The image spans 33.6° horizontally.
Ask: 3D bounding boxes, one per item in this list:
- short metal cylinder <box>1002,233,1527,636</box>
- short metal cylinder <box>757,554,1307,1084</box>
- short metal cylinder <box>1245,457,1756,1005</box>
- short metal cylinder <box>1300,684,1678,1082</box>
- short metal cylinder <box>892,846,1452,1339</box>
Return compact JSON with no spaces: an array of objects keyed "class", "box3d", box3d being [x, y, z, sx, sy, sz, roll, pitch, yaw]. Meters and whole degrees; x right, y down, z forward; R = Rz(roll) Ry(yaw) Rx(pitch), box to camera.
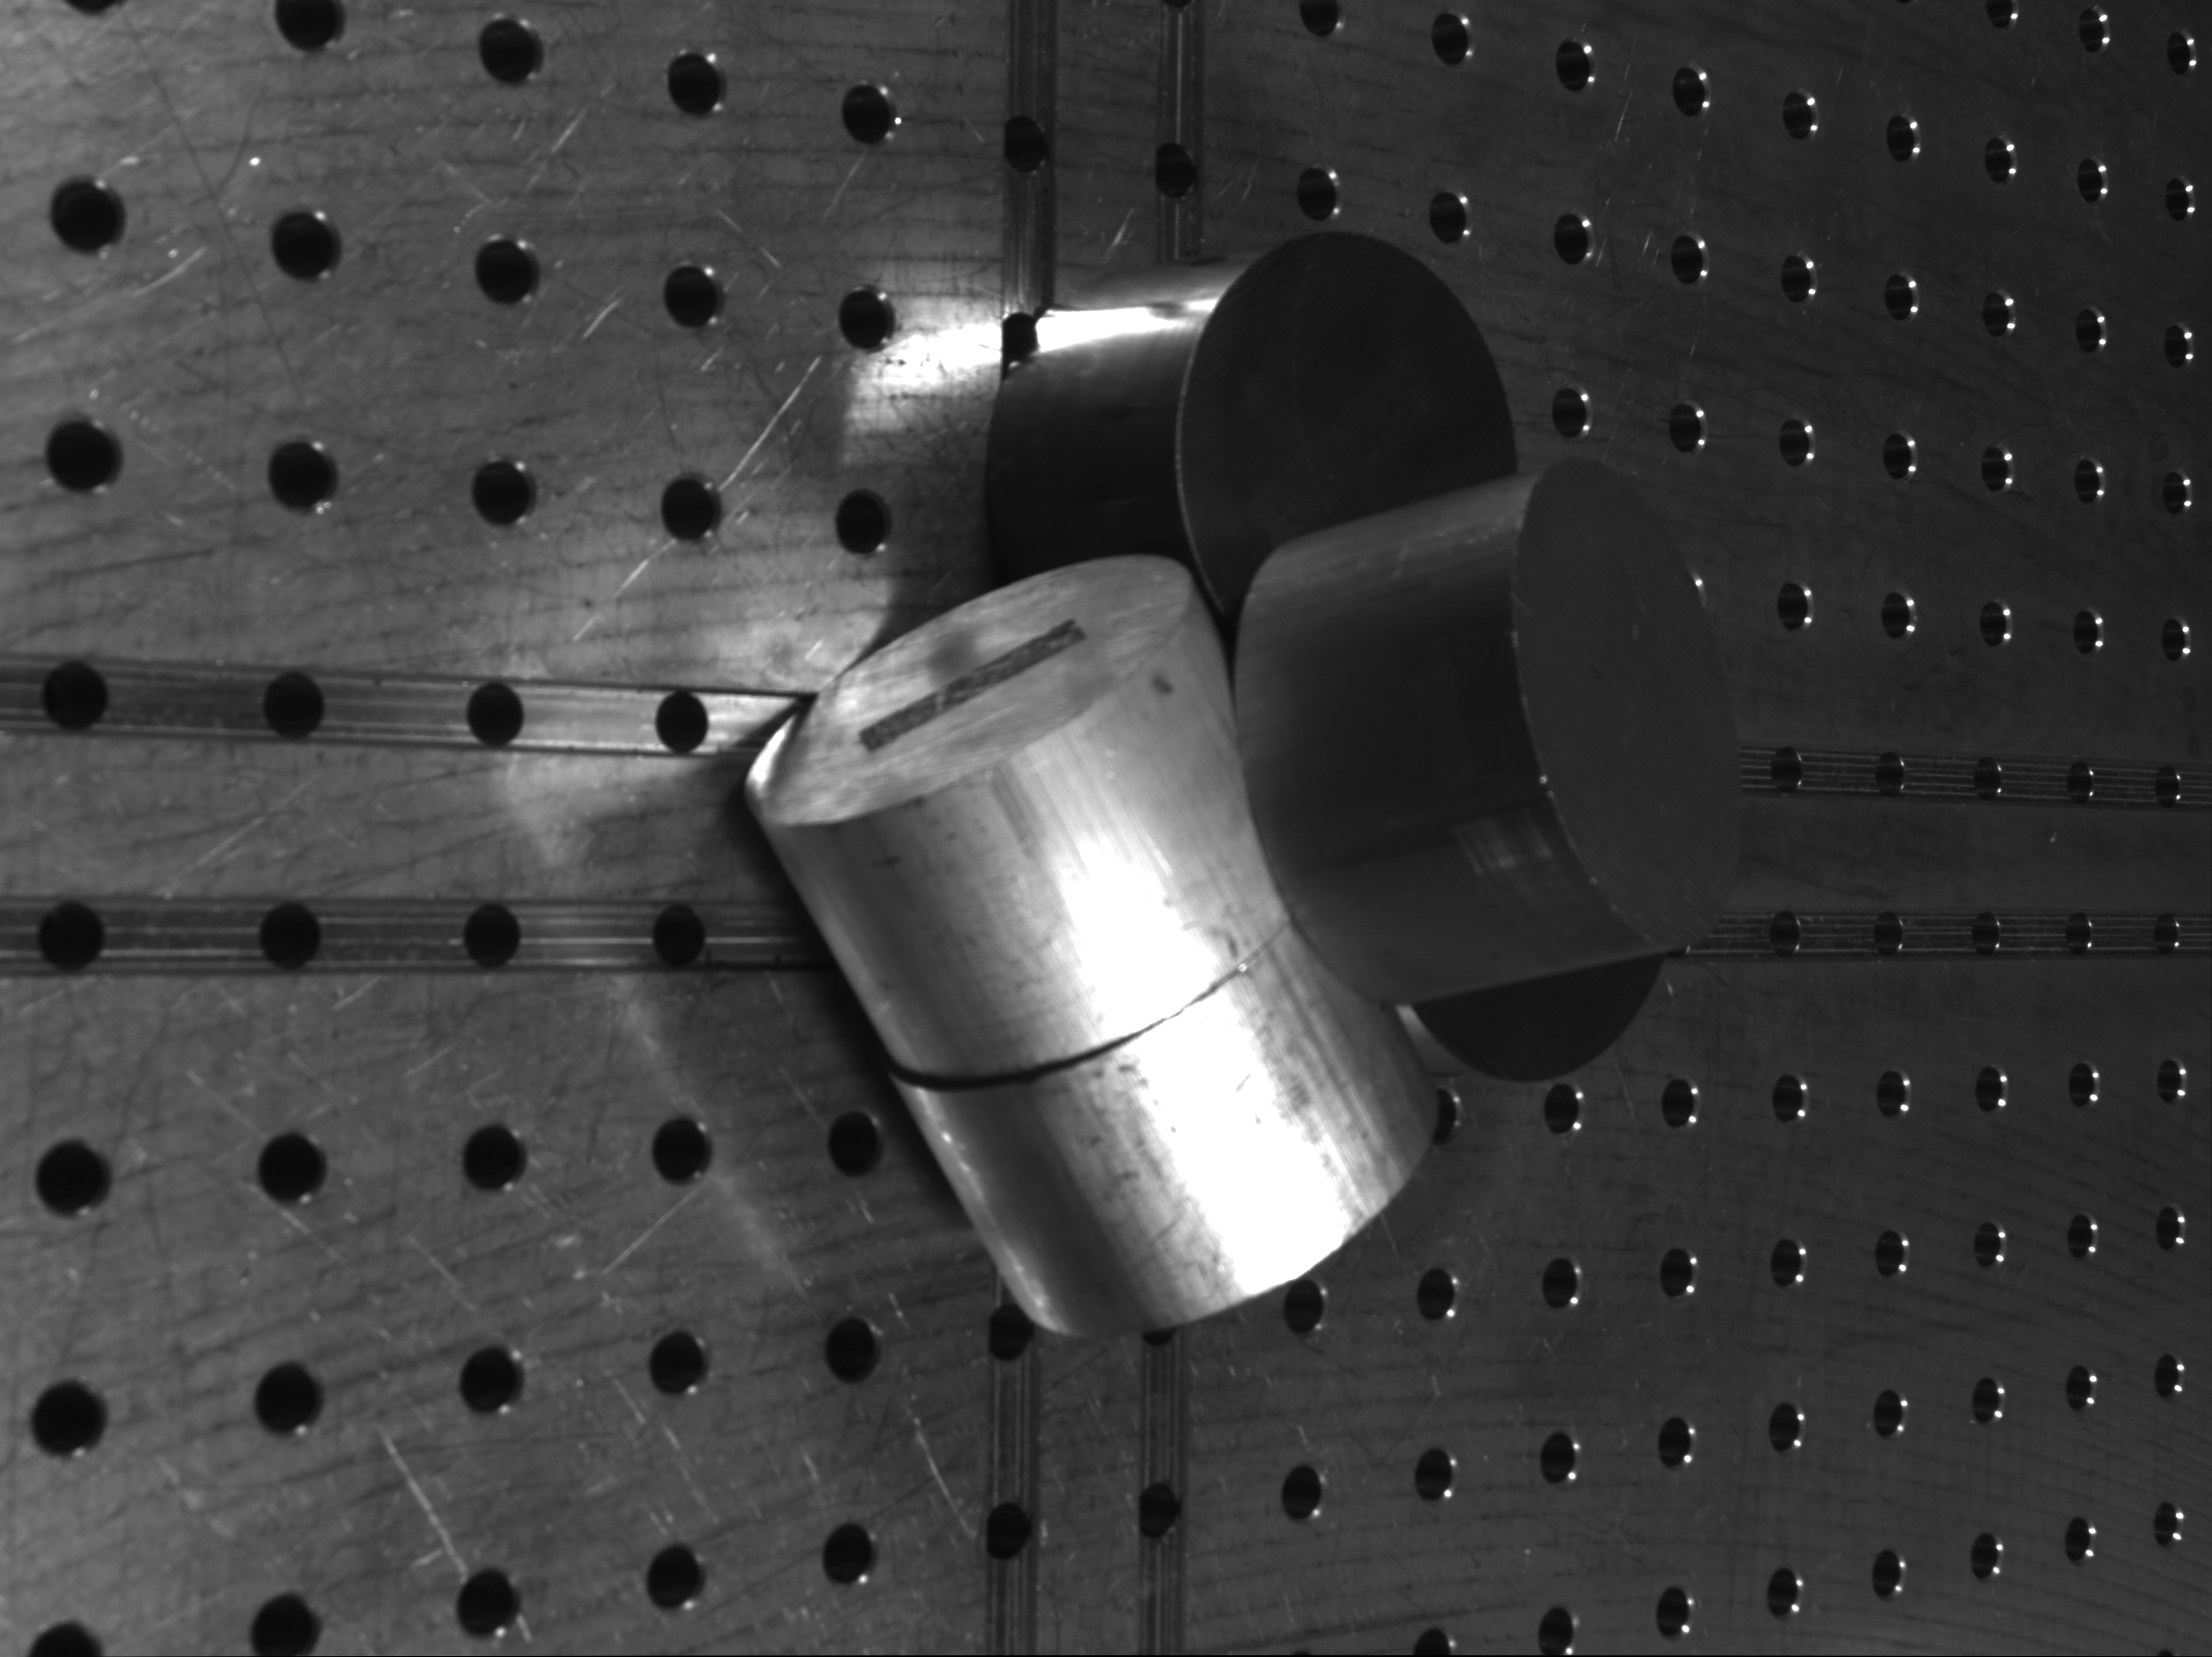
[{"class":"short metal cylinder","box3d":[0.028,-0.062,0.647,0.080,0.050,0.080,0,90,-40]},{"class":"short metal cylinder","box3d":[-0.010,-0.002,0.597,0.080,0.080,0.050,-41,115,-32]},{"class":"short metal cylinder","box3d":[0.065,-0.015,0.595,0.080,0.050,0.080,28,55,-50]},{"class":"short metal cylinder","box3d":[0.063,0.005,0.675,0.080,0.050,0.080,0,90,-40]},{"class":"short metal cylinder","box3d":[0.011,0.040,0.614,0.080,0.080,0.050,-41,115,-32]}]
